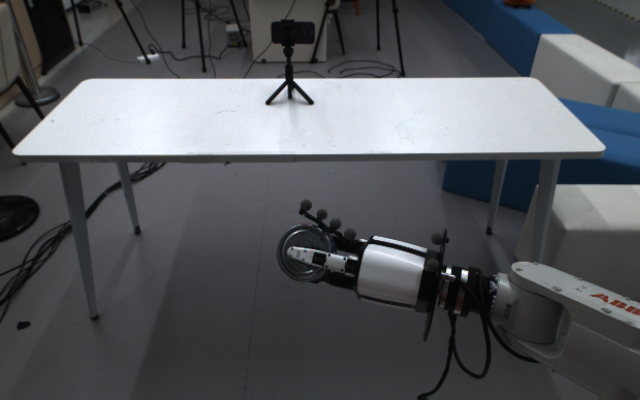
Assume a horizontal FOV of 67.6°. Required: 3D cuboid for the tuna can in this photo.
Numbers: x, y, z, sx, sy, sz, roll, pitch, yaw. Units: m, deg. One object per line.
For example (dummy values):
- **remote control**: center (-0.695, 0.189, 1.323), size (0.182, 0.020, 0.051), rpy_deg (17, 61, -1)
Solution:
- **tuna can**: center (-0.018, 0.077, 0.712), size (0.085, 0.085, 0.034), rpy_deg (13, -4, 15)
